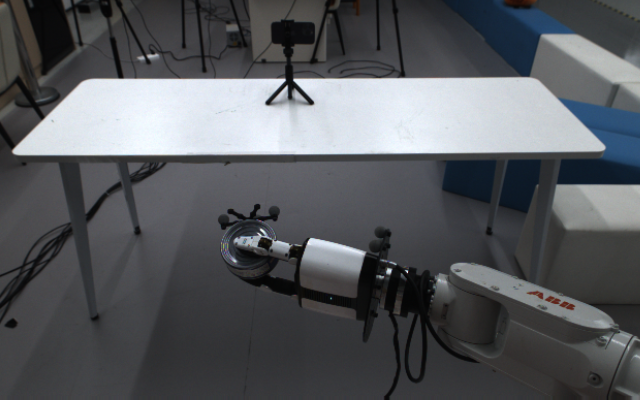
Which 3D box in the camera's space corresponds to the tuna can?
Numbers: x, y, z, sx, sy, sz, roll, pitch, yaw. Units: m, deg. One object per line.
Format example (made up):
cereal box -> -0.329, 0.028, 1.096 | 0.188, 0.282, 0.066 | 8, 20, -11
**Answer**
tuna can -> -0.099, 0.079, 0.716 | 0.085, 0.034, 0.085 | -3, 60, 5
